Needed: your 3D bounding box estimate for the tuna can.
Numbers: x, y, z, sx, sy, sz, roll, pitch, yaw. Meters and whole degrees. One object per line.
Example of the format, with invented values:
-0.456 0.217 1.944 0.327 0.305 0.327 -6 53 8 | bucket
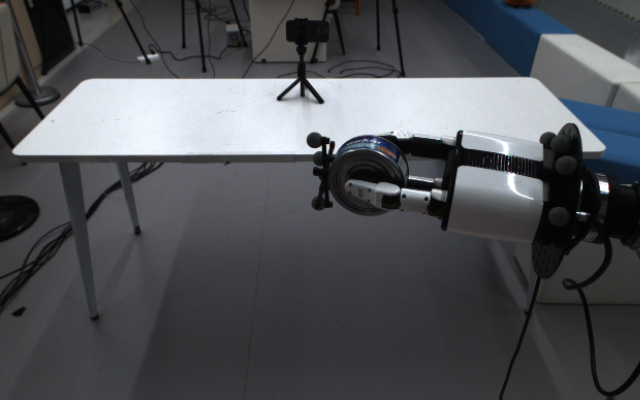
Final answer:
0.055 -0.025 0.529 0.085 0.085 0.034 9 32 10 | tuna can
